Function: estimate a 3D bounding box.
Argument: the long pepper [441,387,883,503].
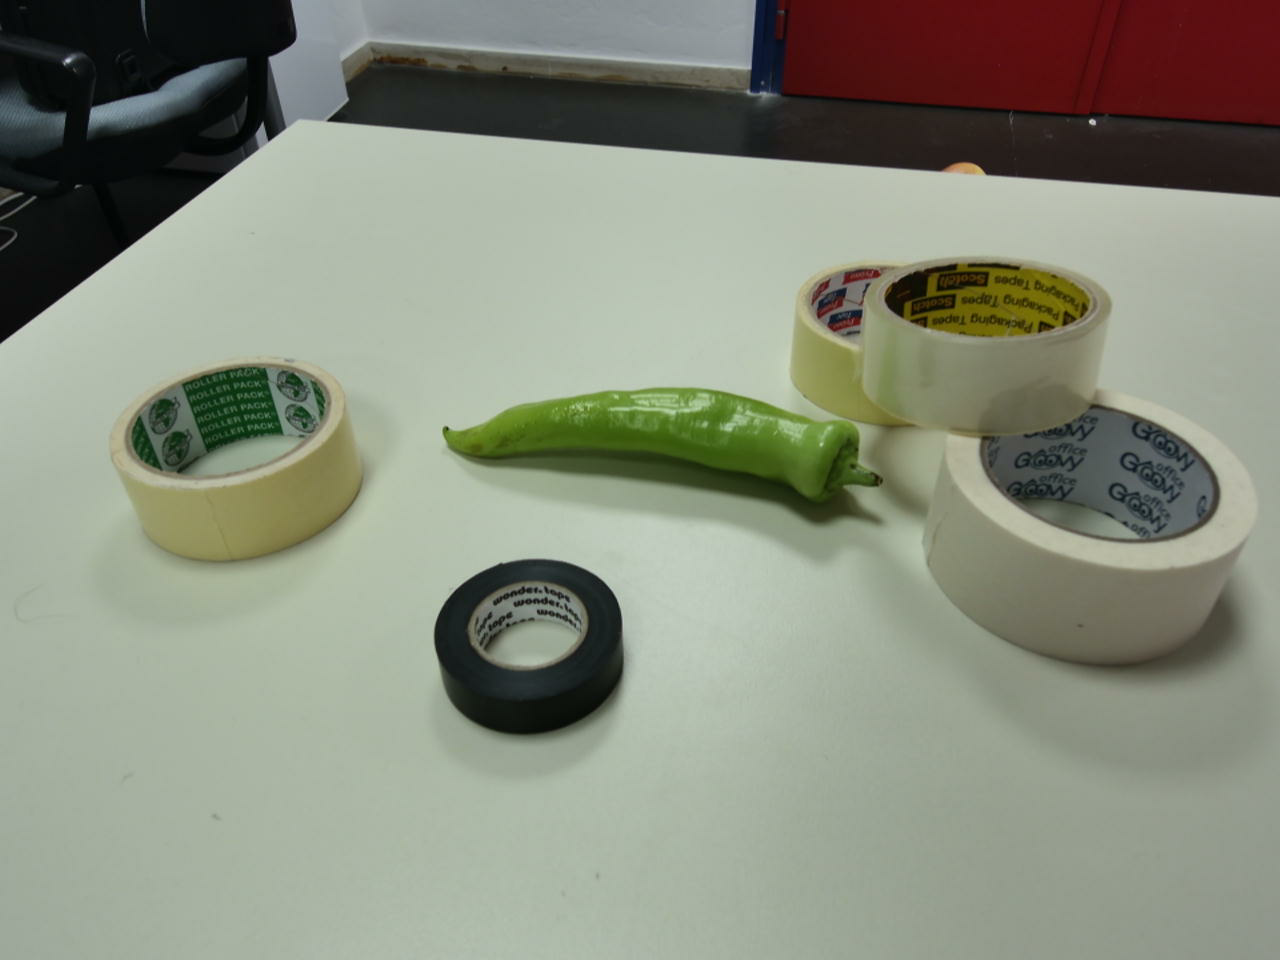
[{"bbox_3d":[0.006,-0.022,0.437,0.197,0.038,0.046,10,39,13],"label":"long pepper"}]
